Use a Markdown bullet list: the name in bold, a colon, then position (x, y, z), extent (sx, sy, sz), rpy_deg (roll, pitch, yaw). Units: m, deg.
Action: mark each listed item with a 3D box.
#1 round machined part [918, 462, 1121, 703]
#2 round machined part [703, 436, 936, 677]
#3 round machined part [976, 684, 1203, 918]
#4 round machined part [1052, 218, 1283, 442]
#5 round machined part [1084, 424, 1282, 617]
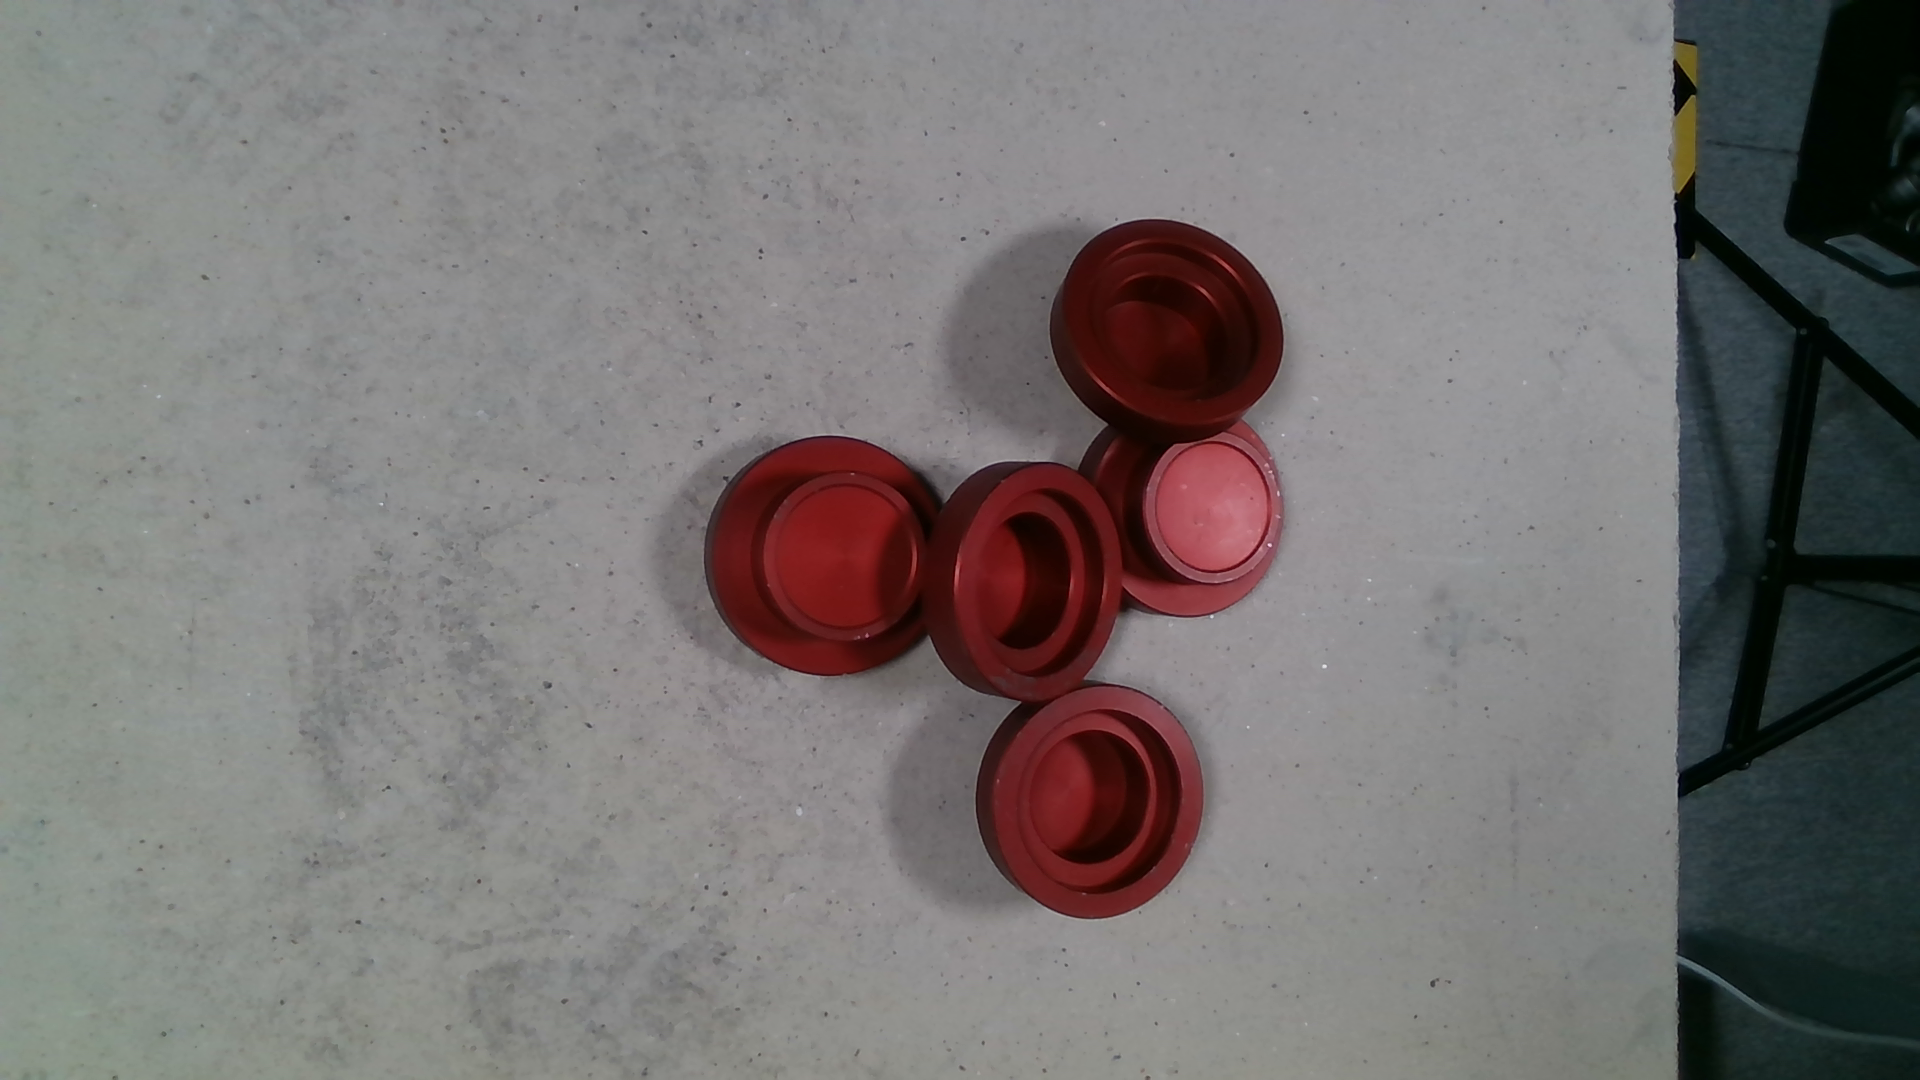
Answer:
- **round machined part**: position (0.020, 0.016, 0.573), extent (0.098, 0.042, 0.098), rpy_deg (-3, 95, -43)
- **round machined part**: position (-0.052, 0.007, 0.557), extent (0.098, 0.042, 0.098), rpy_deg (0, 90, -20)
- **round machined part**: position (0.052, 0.110, 0.597), extent (0.098, 0.042, 0.098), rpy_deg (0, 90, -20)
- **round machined part**: position (0.086, -0.086, 0.597), extent (0.098, 0.042, 0.098), rpy_deg (5, 68, -11)
- **round machined part**: position (0.103, -0.014, 0.614), extent (0.098, 0.042, 0.098), rpy_deg (0, 90, -20)
